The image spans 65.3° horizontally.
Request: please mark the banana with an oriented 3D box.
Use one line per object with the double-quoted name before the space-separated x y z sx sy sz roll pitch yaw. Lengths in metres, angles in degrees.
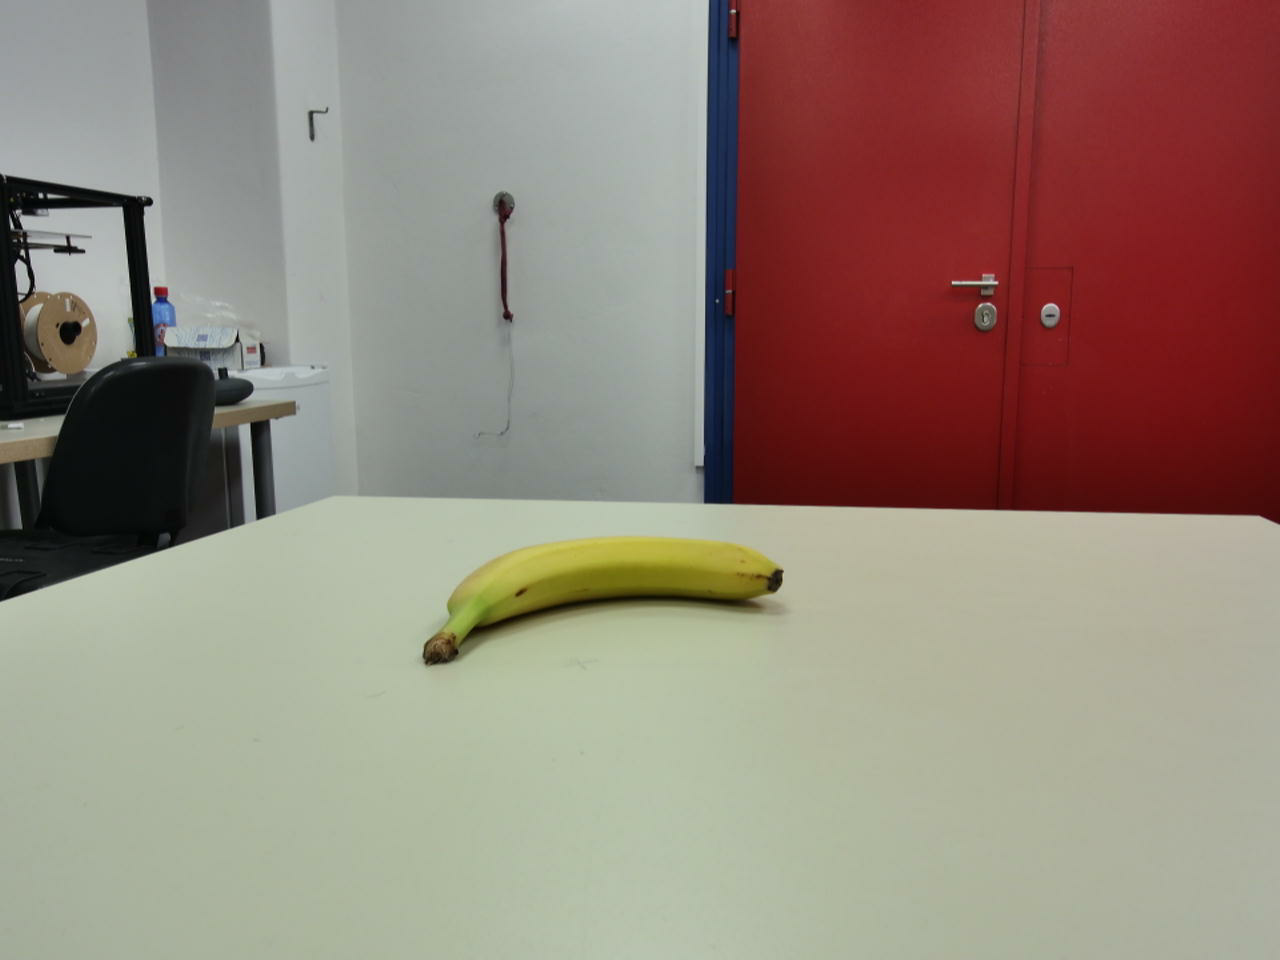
"banana" -0.027 0.055 0.535 0.196 0.041 0.094 -3 7 -24
